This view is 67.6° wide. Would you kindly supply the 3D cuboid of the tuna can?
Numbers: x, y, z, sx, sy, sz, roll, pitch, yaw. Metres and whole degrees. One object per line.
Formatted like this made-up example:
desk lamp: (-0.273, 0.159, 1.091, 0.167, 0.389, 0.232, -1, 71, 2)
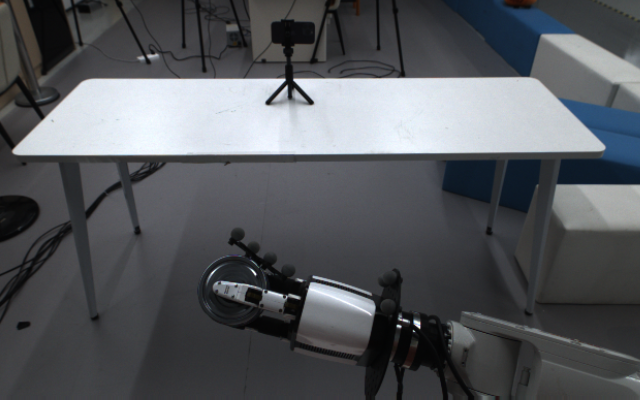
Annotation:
tuna can: (-0.102, 0.111, 0.595, 0.085, 0.034, 0.085, 0, 74, 0)
